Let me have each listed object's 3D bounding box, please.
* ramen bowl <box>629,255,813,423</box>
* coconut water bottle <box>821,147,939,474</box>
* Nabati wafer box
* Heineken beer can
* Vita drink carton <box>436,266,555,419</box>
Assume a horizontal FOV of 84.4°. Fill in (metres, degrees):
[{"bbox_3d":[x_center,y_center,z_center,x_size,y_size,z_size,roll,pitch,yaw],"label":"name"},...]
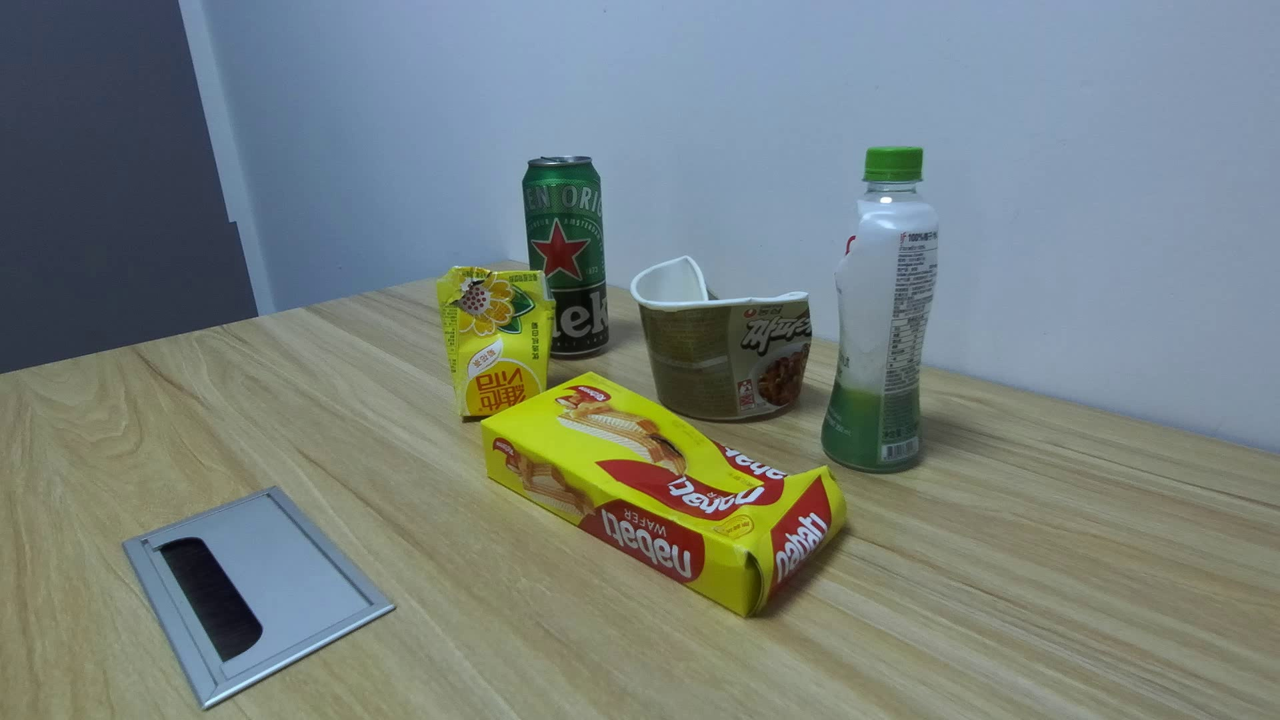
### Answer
[{"bbox_3d":[0.056,-0.017,0.528,0.137,0.098,0.137,-2,19,1],"label":"ramen bowl"},{"bbox_3d":[0.147,-0.030,0.423,0.069,0.186,0.069,-1,19,1],"label":"coconut water bottle"},{"bbox_3d":[0.011,0.064,0.404,0.203,0.042,0.107,19,31,40],"label":"Nabati wafer box"},{"bbox_3d":[-0.064,-0.088,0.624,0.067,0.169,0.067,-2,19,1],"label":"Heineken beer can"},{"bbox_3d":[-0.106,-0.015,0.530,0.087,0.108,0.042,-2,6,-6],"label":"Vita drink carton"}]
